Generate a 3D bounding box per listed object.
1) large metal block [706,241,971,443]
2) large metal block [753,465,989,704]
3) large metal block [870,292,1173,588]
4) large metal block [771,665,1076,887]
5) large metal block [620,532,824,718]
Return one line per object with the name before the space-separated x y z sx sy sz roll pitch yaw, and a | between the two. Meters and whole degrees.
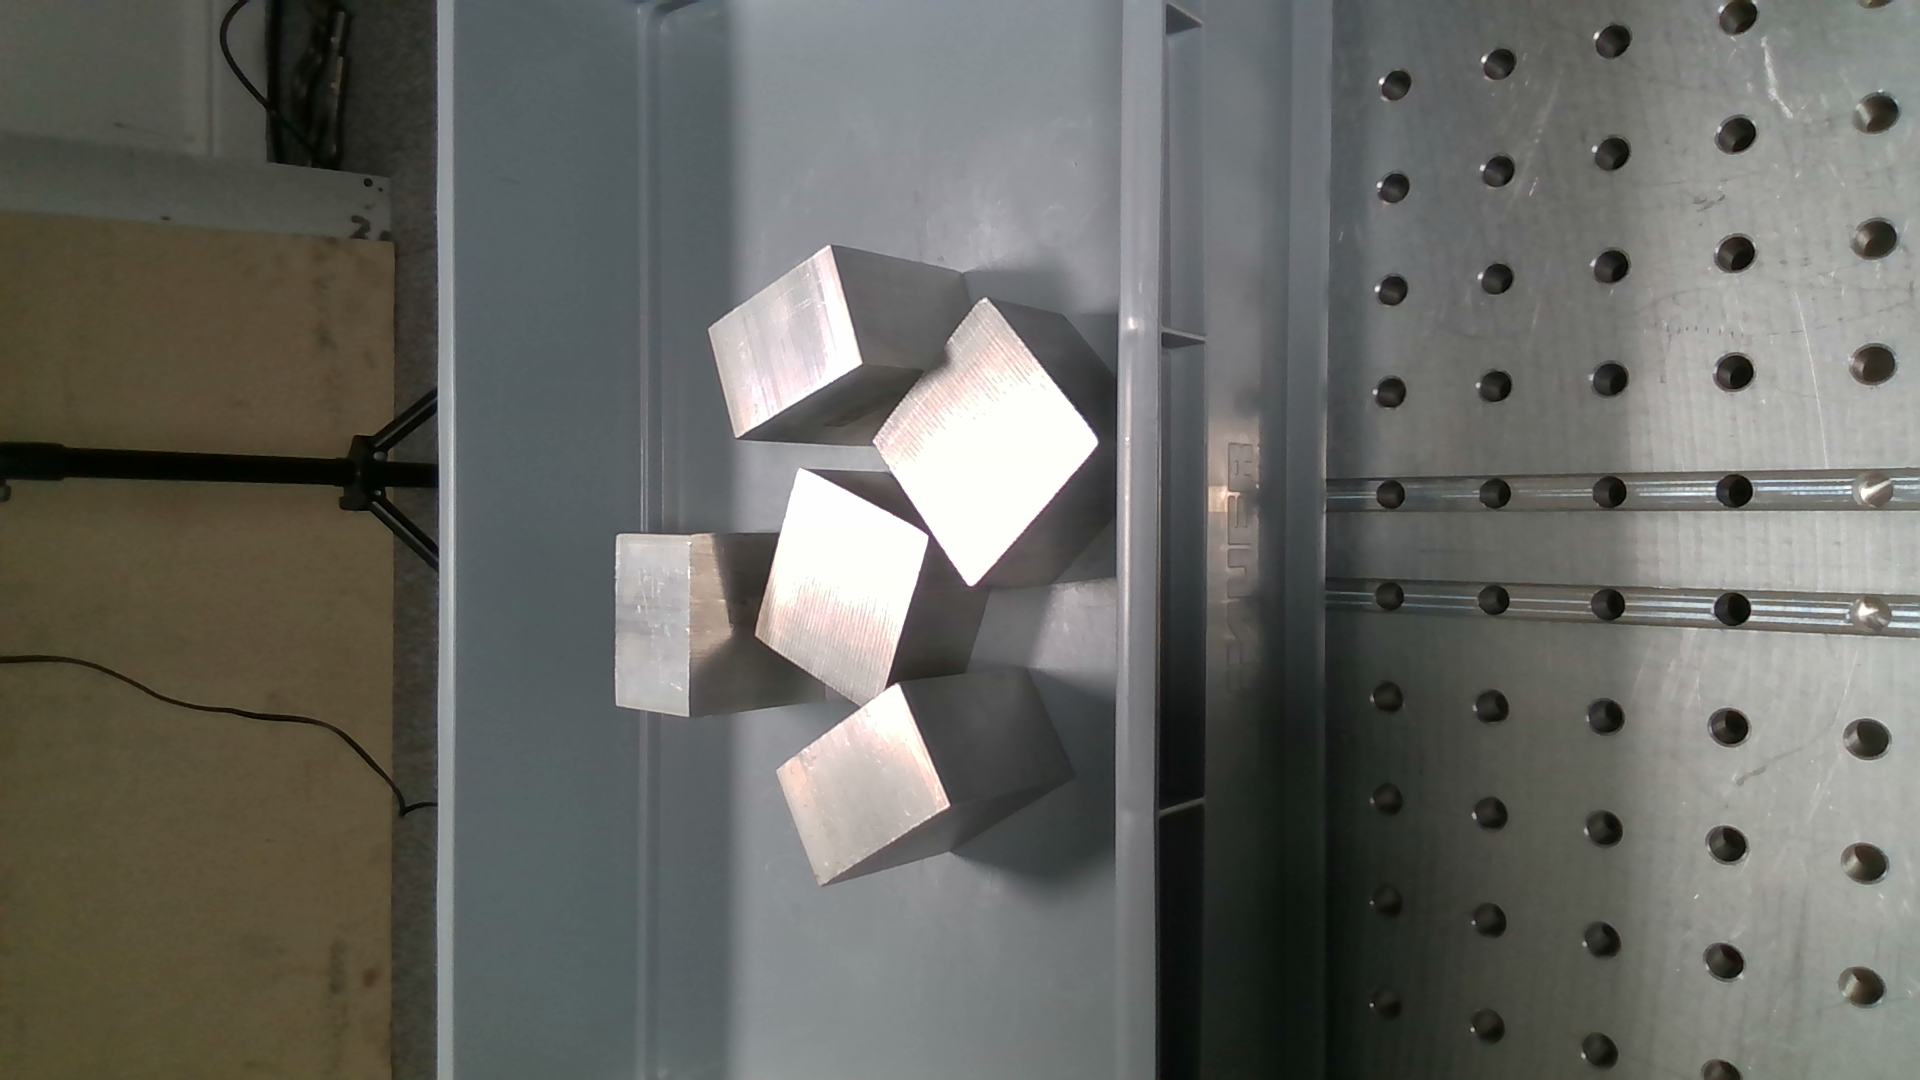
large metal block | -0.046 -0.079 0.583 0.080 0.080 0.050 -24 75 38
large metal block | -0.036 0.020 0.595 0.080 0.050 0.080 28 108 37
large metal block | 0.022 -0.038 0.544 0.080 0.050 0.080 -50 61 29
large metal block | -0.015 0.094 0.558 0.080 0.080 0.050 -38 67 34
large metal block | -0.109 0.036 0.638 0.050 0.080 0.080 1 91 40
